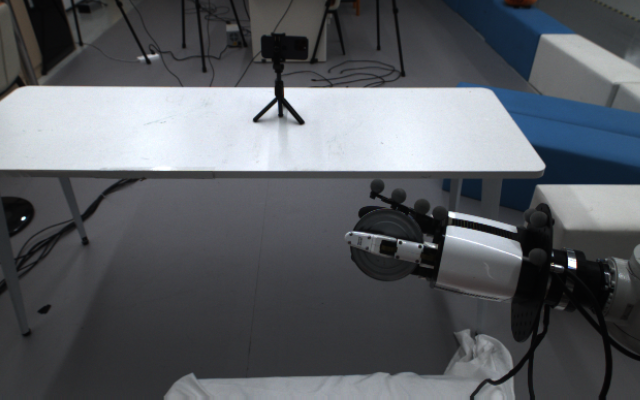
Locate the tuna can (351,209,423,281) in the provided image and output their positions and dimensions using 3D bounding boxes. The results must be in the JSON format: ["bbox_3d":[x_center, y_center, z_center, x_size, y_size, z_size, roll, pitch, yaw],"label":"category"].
[{"bbox_3d":[0.083,0.050,0.579,0.085,0.085,0.034,13,2,16],"label":"tuna can"}]
